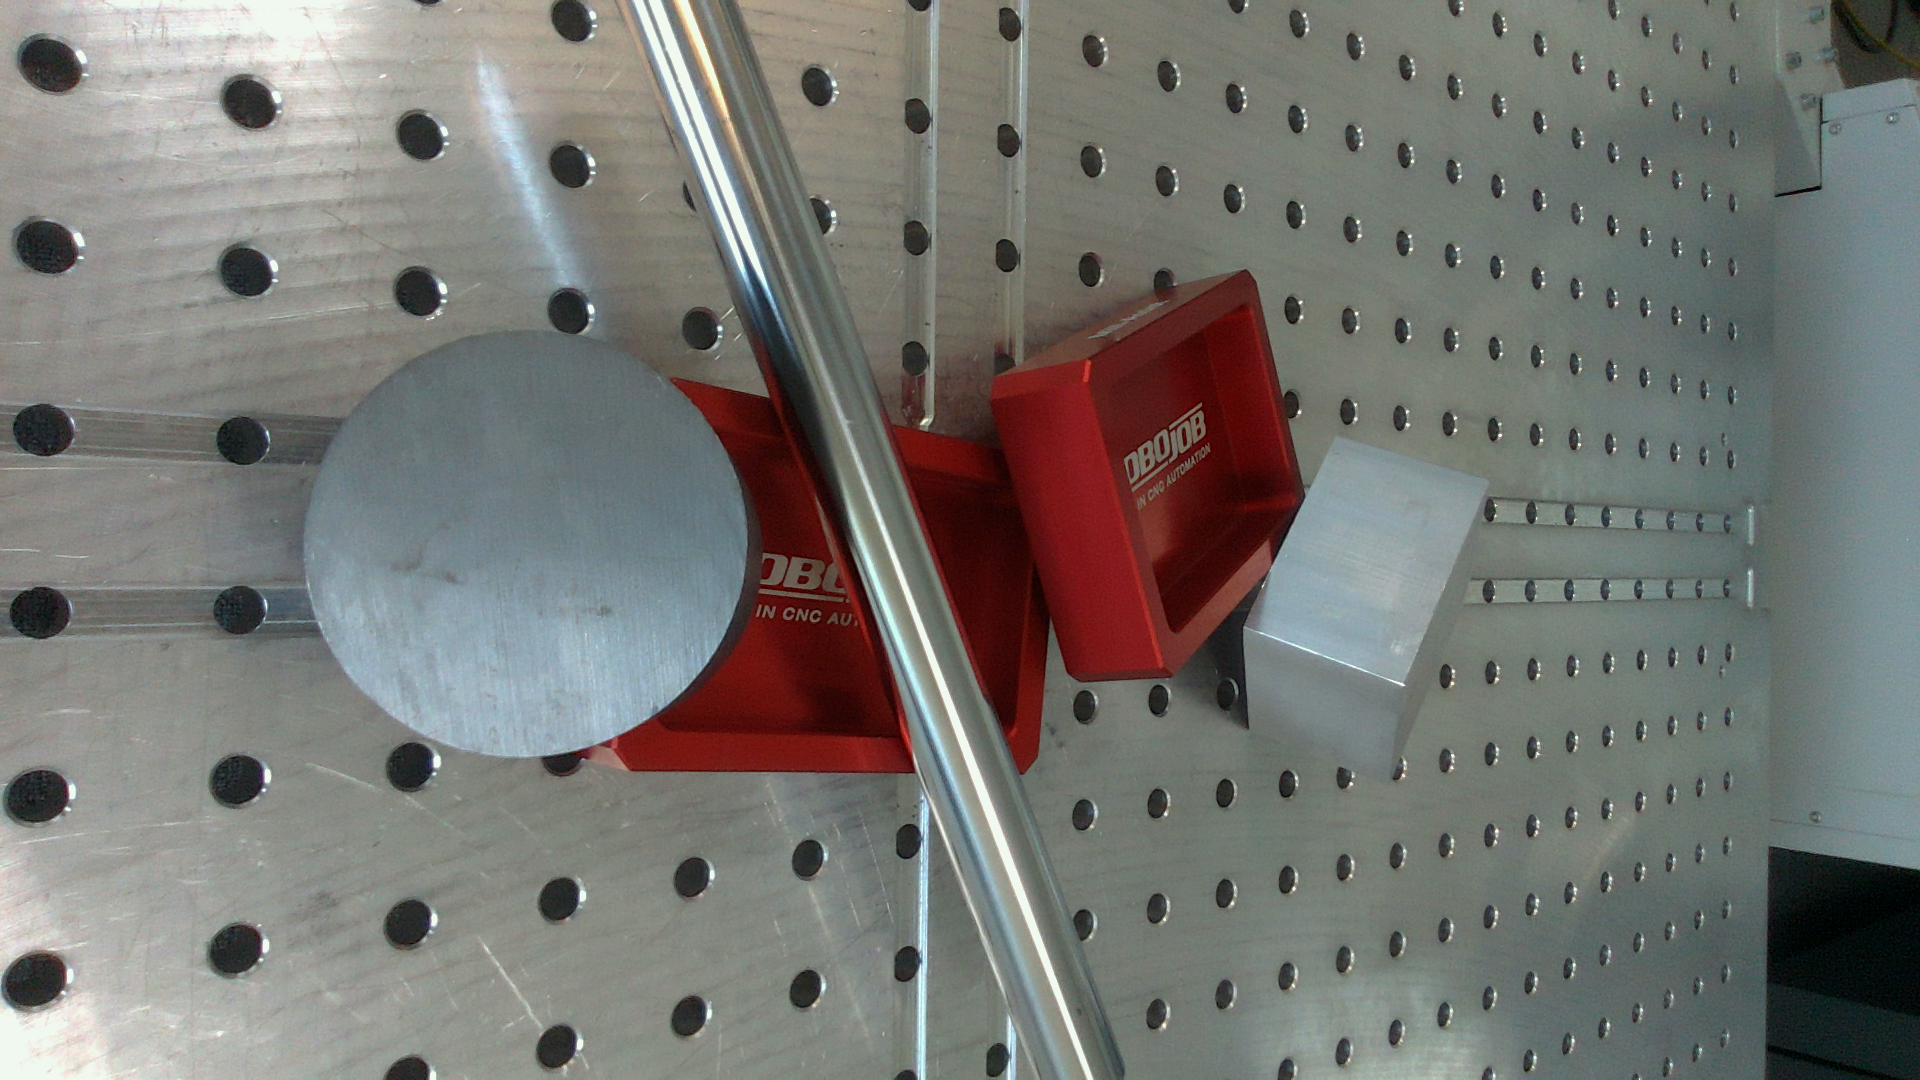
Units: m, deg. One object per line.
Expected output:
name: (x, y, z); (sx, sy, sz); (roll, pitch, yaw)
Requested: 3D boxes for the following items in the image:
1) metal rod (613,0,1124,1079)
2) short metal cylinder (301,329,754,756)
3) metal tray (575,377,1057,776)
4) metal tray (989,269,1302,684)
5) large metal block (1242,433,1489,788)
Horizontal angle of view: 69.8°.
metal rod: (-0.016, 0.012, 0.340); (0.025, 0.025, 0.300); (-31, 110, -35)
short metal cylinder: (-0.084, 0.002, 0.282); (0.080, 0.050, 0.080); (0, 86, -5)
metal tray: (-0.033, 0.014, 0.361); (0.131, 0.030, 0.090); (9, 84, -40)
metal tray: (0.064, -0.024, 0.417); (0.130, 0.030, 0.090); (-35, 112, -52)
large metal block: (0.136, 0.025, 0.466); (0.080, 0.050, 0.080); (-59, 154, -23)
